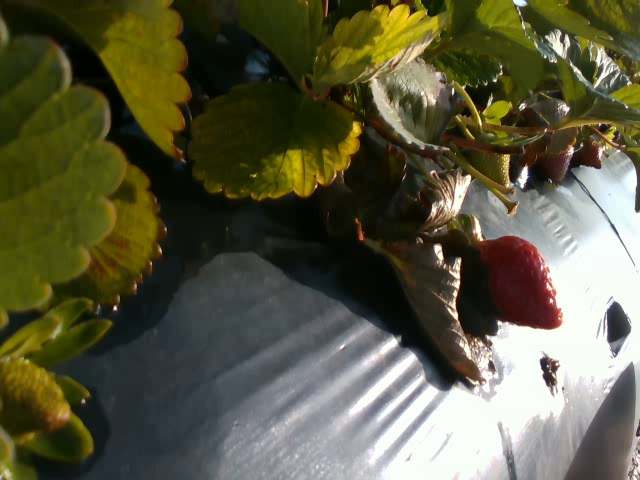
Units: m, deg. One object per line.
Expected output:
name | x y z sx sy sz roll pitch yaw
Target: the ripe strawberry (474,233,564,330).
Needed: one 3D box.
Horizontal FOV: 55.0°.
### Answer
ripe strawberry | 0.077 0.023 0.226 0.037 0.054 0.046 -44 -33 17
